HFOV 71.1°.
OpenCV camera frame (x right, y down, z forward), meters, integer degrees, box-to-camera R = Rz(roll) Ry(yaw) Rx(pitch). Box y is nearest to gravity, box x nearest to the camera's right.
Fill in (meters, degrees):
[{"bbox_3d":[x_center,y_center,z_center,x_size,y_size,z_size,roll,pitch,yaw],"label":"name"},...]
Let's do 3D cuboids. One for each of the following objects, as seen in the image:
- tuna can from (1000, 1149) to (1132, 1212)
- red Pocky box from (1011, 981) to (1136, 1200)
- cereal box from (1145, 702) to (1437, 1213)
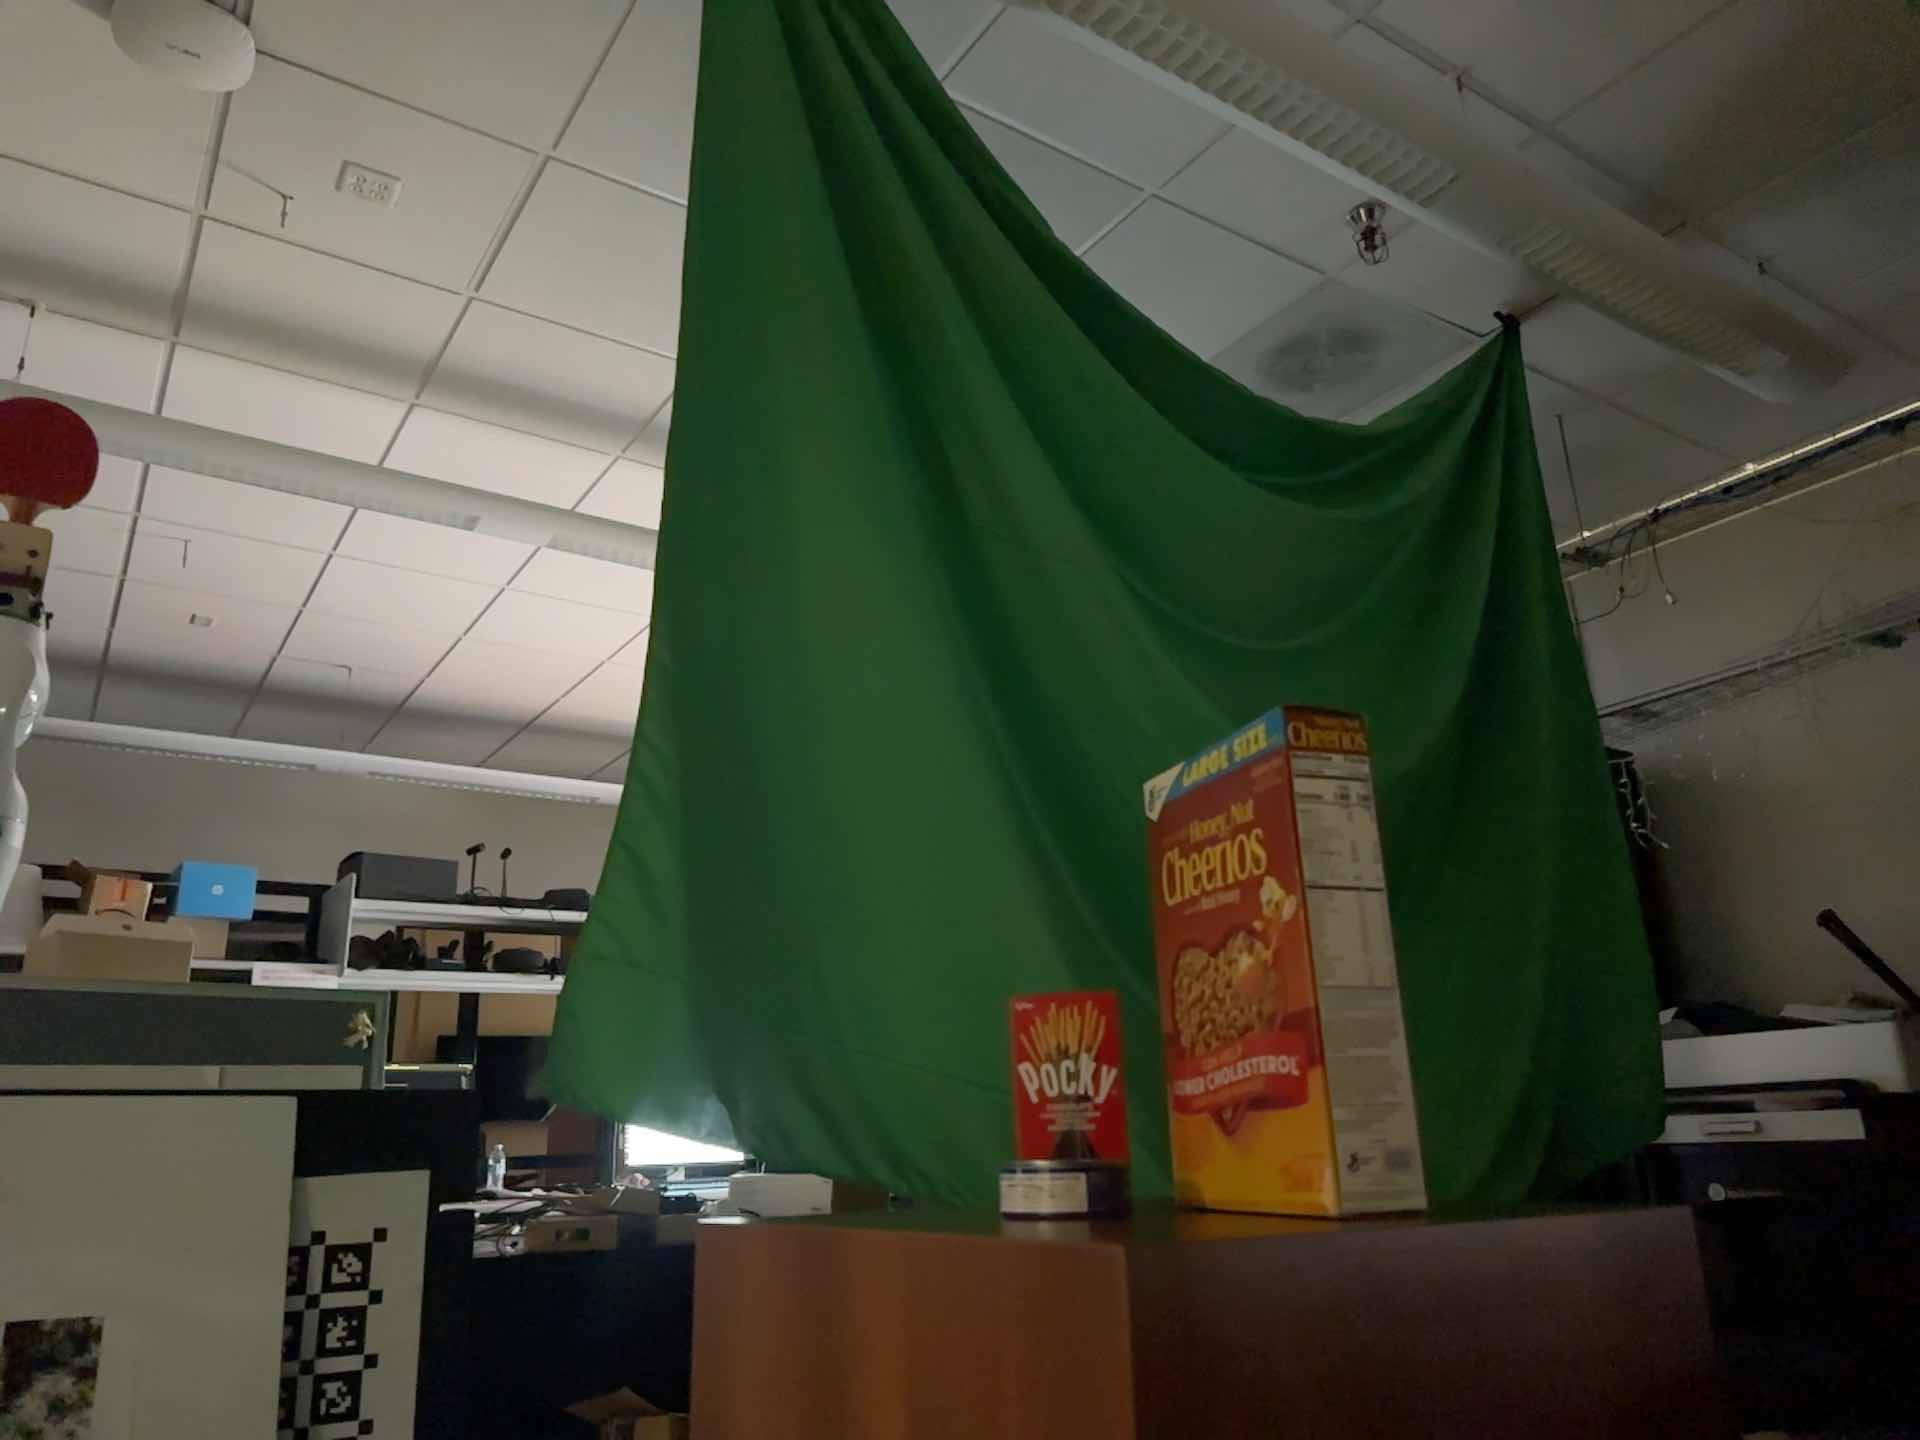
[{"bbox_3d":[0.068,0.297,0.868,0.083,0.034,0.083,-2,-16,-1],"label":"tuna can"},{"bbox_3d":[0.081,0.271,0.985,0.083,0.155,0.028,-5,-15,9],"label":"red Pocky box"},{"bbox_3d":[0.207,0.162,0.898,0.065,0.297,0.195,4,-17,-20],"label":"cereal box"}]
